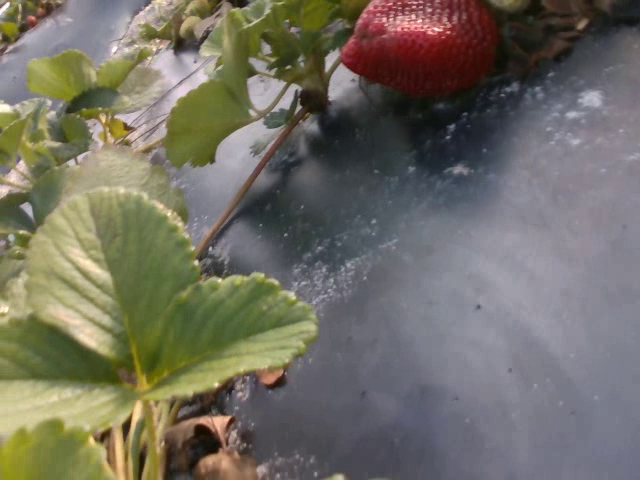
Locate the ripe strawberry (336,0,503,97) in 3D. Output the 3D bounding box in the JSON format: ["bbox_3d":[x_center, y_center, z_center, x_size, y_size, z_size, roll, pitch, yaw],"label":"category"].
[{"bbox_3d":[0.039,-0.079,0.250,0.070,0.057,0.058,-14,50,-37],"label":"ripe strawberry"}]
